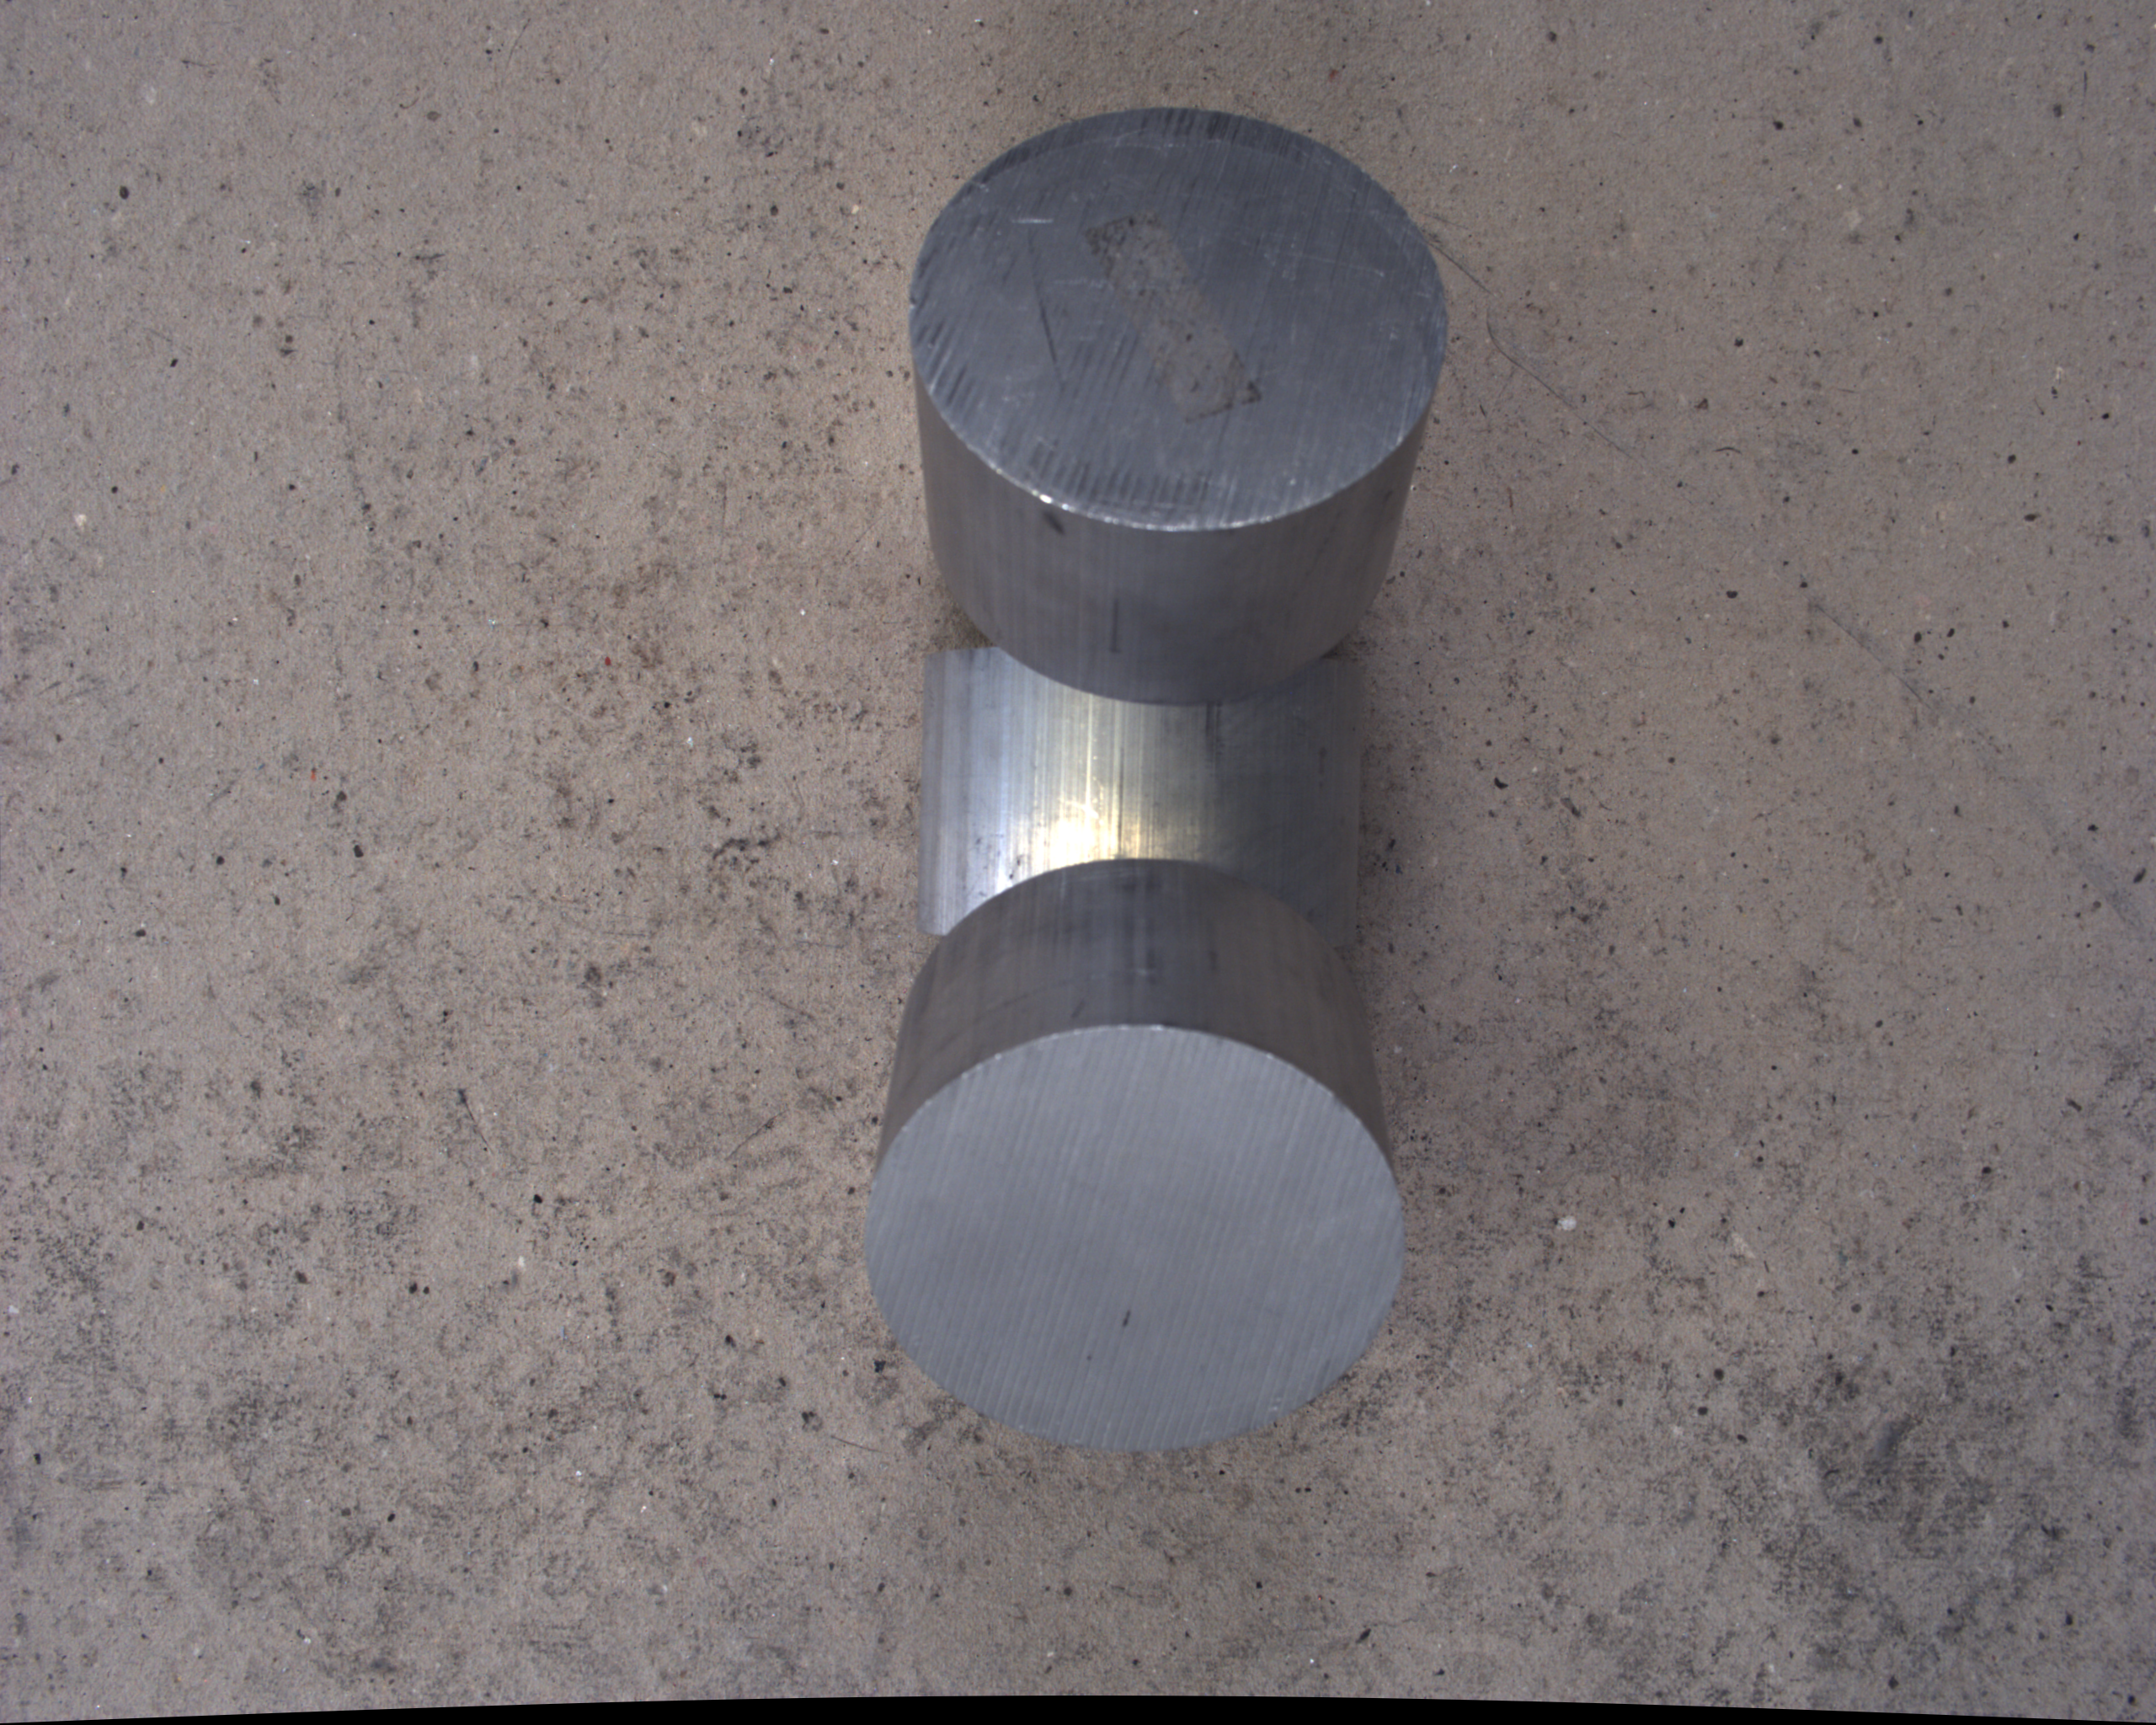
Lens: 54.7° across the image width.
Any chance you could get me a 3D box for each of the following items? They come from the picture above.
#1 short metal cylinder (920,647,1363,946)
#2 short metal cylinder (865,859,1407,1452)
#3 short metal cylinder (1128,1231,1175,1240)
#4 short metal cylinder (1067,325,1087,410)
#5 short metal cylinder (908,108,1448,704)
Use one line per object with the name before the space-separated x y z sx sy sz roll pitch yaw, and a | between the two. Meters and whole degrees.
short metal cylinder | 0.012 -0.011 0.384 0.081 0.080 0.050 2 90 0
short metal cylinder | 0.009 0.046 0.332 0.080 0.050 0.079 0 118 1
short metal cylinder | 0.010 0.058 0.399 0.081 0.050 0.080 0 90 0
short metal cylinder | 0.012 -0.077 0.399 0.081 0.050 0.080 0 90 0
short metal cylinder | 0.015 -0.072 0.334 0.081 0.050 0.080 1 65 -1
